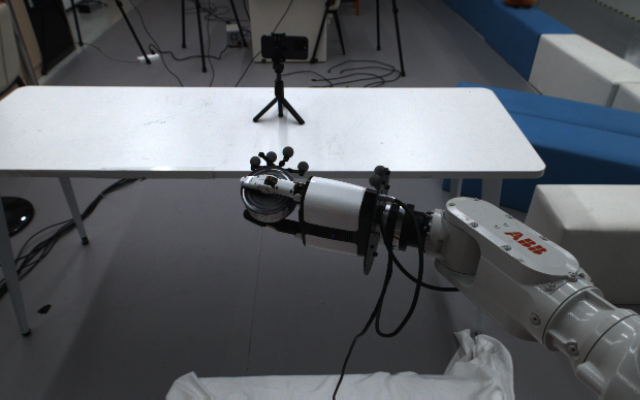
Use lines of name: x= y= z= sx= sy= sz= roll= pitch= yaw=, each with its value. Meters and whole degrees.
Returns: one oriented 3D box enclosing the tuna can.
tuna can: x=-0.078 y=-0.010 z=0.746 sx=0.085 sy=0.034 sz=0.085 roll=-3 pitch=57 yaw=4
